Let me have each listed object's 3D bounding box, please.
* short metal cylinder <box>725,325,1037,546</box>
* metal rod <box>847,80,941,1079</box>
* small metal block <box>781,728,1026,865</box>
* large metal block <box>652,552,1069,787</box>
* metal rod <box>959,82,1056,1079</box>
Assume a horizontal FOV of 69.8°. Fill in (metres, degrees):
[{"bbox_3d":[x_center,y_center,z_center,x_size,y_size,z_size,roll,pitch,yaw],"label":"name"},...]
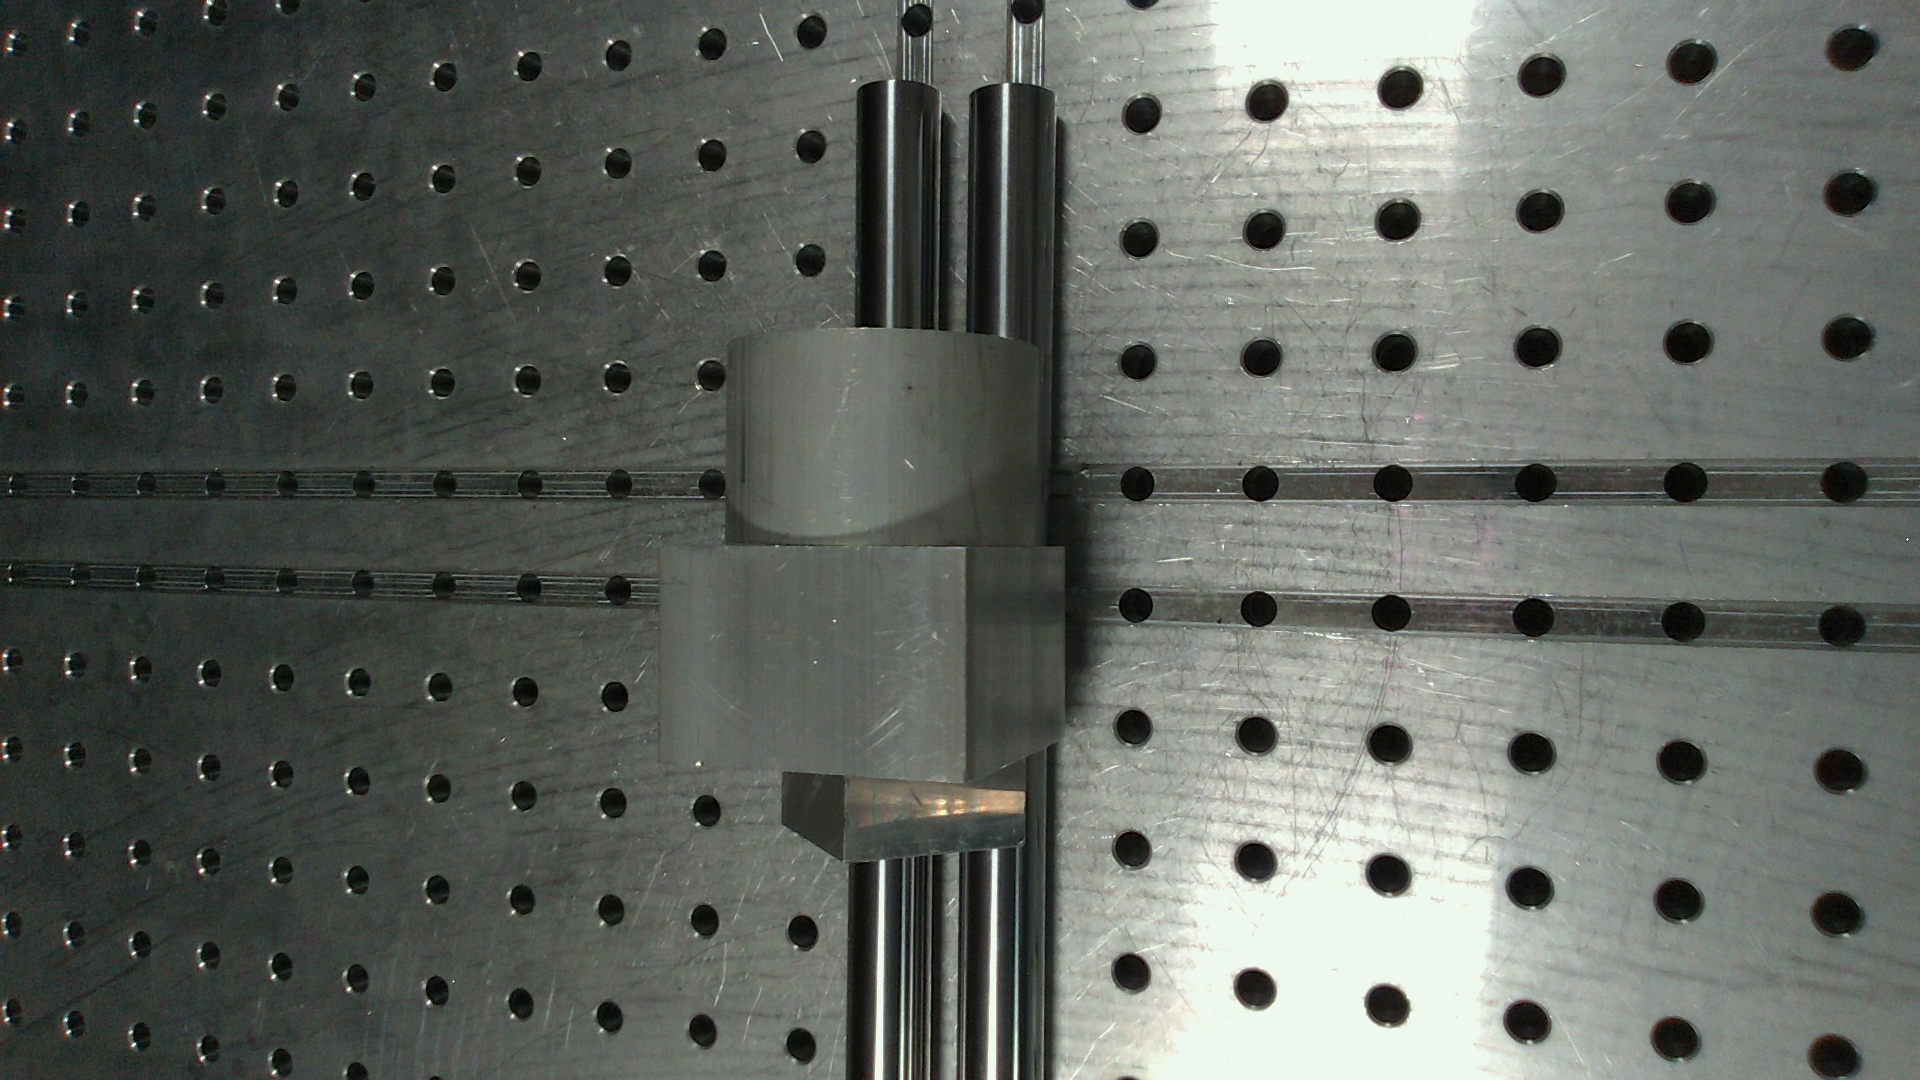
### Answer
[{"bbox_3d":[-0.020,-0.024,0.354,0.080,0.080,0.050,1,90,20],"label":"short metal cylinder"},{"bbox_3d":[-0.020,0.018,0.407,0.025,0.025,0.300,1,90,20],"label":"metal rod"},{"bbox_3d":[-0.016,0.066,0.367,0.050,0.050,0.025,0,90,-25],"label":"small metal block"},{"bbox_3d":[-0.022,0.029,0.351,0.080,0.080,0.050,0,90,20],"label":"large metal block"},{"bbox_3d":[0.013,0.023,0.395,0.025,0.025,0.300,1,90,20],"label":"metal rod"}]
